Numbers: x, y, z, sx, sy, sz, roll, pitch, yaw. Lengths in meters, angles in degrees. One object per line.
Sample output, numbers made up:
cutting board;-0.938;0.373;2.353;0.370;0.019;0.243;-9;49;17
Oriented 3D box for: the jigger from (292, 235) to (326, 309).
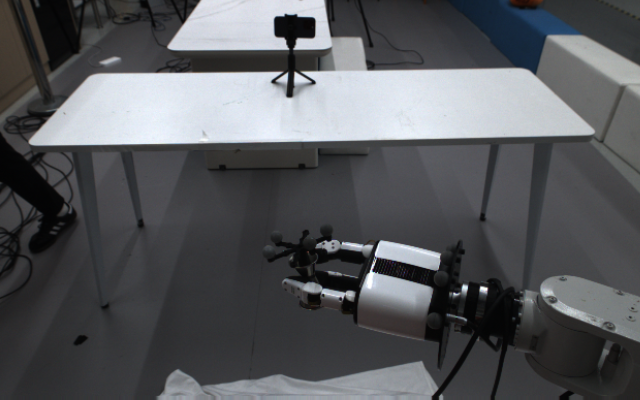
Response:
jigger;-0.014;0.107;0.650;0.043;0.071;0.043;-12;24;5
